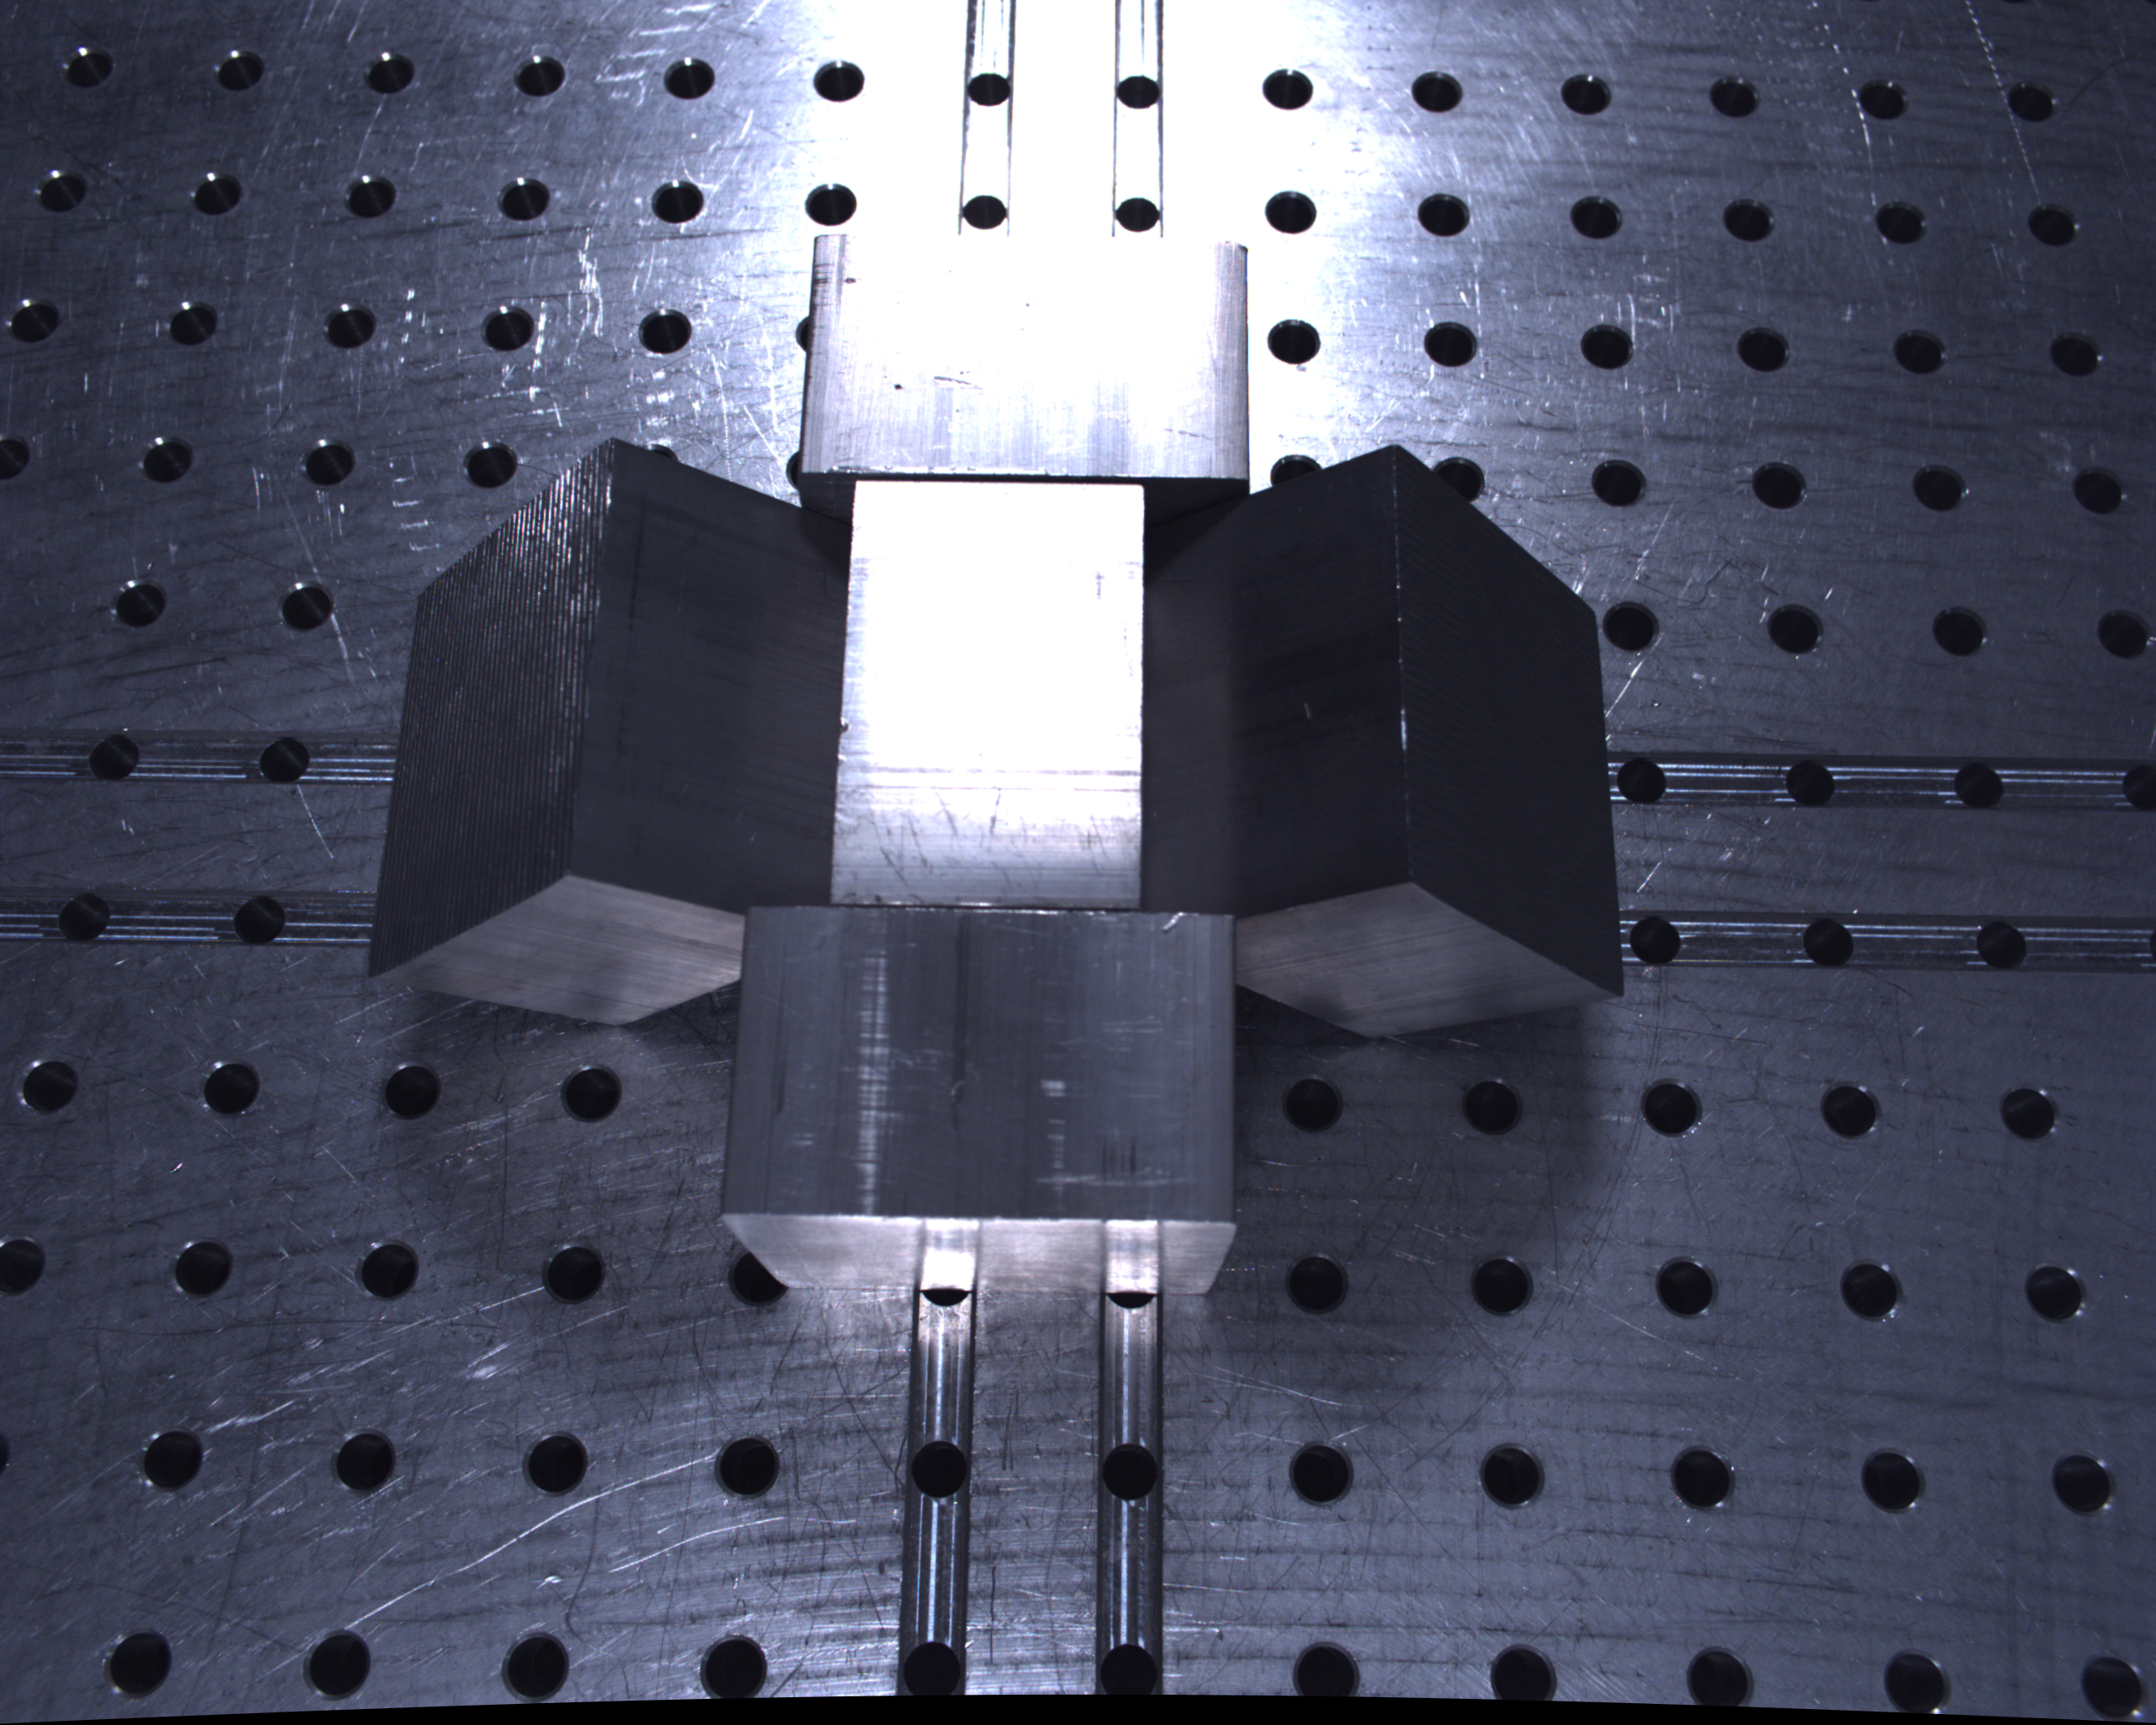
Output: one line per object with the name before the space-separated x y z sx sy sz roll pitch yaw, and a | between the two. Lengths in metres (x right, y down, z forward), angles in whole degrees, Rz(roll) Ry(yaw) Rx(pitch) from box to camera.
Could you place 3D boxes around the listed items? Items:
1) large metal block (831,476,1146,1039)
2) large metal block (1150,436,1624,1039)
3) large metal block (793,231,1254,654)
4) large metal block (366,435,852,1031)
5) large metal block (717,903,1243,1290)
large metal block | -0.014 -0.016 0.387 0.050 0.080 0.080 1 70 0
large metal block | 0.057 -0.018 0.381 0.050 0.080 0.080 -14 65 35
large metal block | -0.009 -0.078 0.410 0.081 0.080 0.050 1 70 0
large metal block | -0.085 -0.019 0.382 0.050 0.080 0.080 16 66 -37
large metal block | -0.015 0.044 0.365 0.081 0.080 0.050 1 70 0
